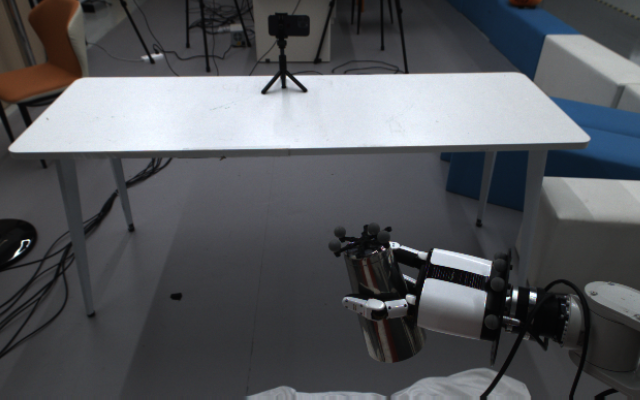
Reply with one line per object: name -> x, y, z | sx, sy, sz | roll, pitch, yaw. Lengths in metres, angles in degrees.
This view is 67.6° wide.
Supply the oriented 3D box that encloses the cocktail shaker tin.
cocktail shaker tin -> 0.089, 0.139, 0.702 | 0.093, 0.170, 0.093 | -17, 20, 6
